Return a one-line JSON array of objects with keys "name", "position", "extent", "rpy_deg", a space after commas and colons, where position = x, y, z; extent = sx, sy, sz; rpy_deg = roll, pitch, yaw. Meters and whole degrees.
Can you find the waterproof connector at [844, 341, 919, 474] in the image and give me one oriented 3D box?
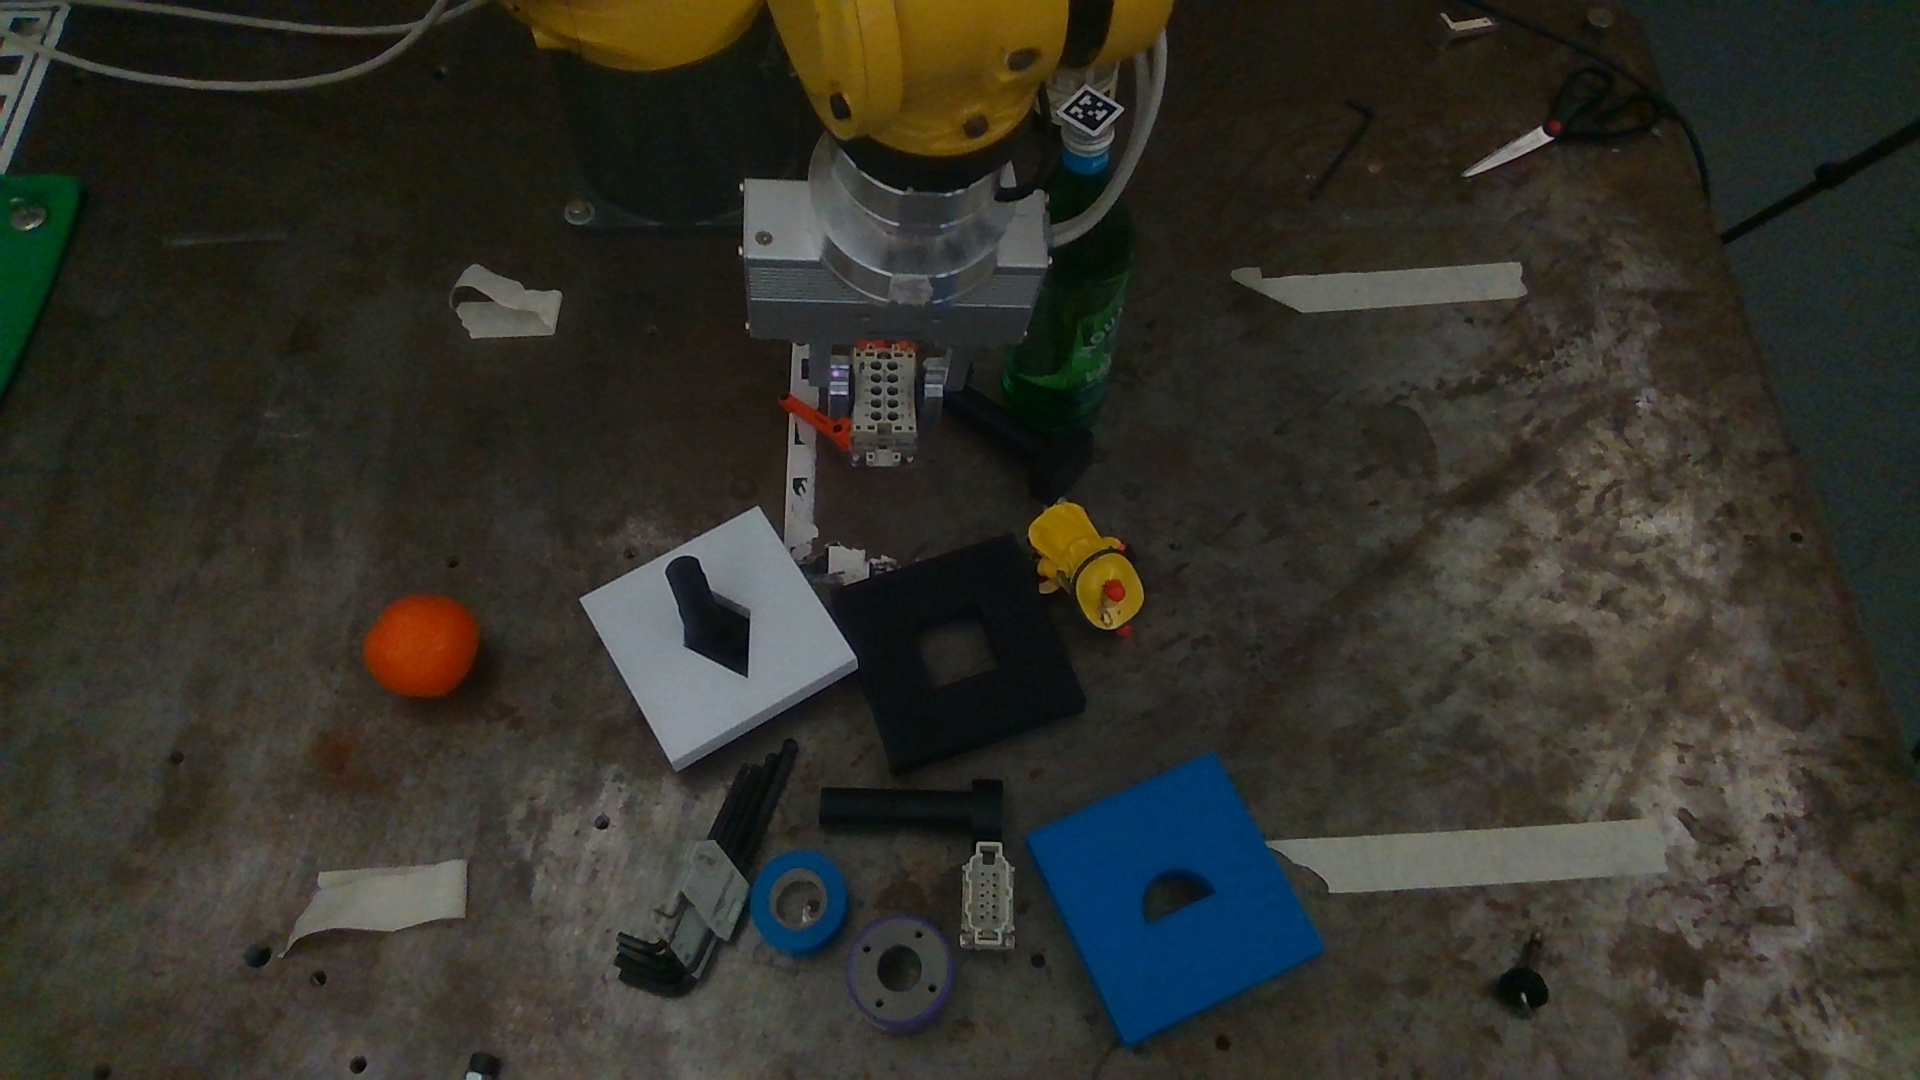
[{"name": "waterproof connector", "position": [-0.040, -0.067, 0.697], "extent": [0.037, 0.038, 0.069], "rpy_deg": [1, 73, -2]}]
